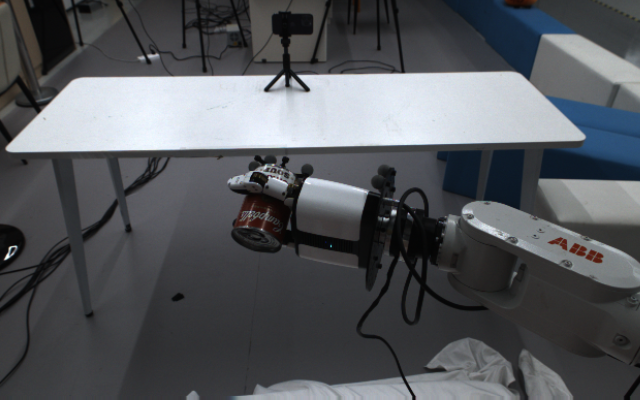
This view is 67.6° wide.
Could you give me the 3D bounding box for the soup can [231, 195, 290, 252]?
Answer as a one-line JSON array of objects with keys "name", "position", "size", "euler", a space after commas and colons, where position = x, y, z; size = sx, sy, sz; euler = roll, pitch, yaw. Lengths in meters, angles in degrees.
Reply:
[{"name": "soup can", "position": [-0.070, 0.011, 0.643], "size": [0.067, 0.067, 0.101], "euler": [9, 58, 10]}]
